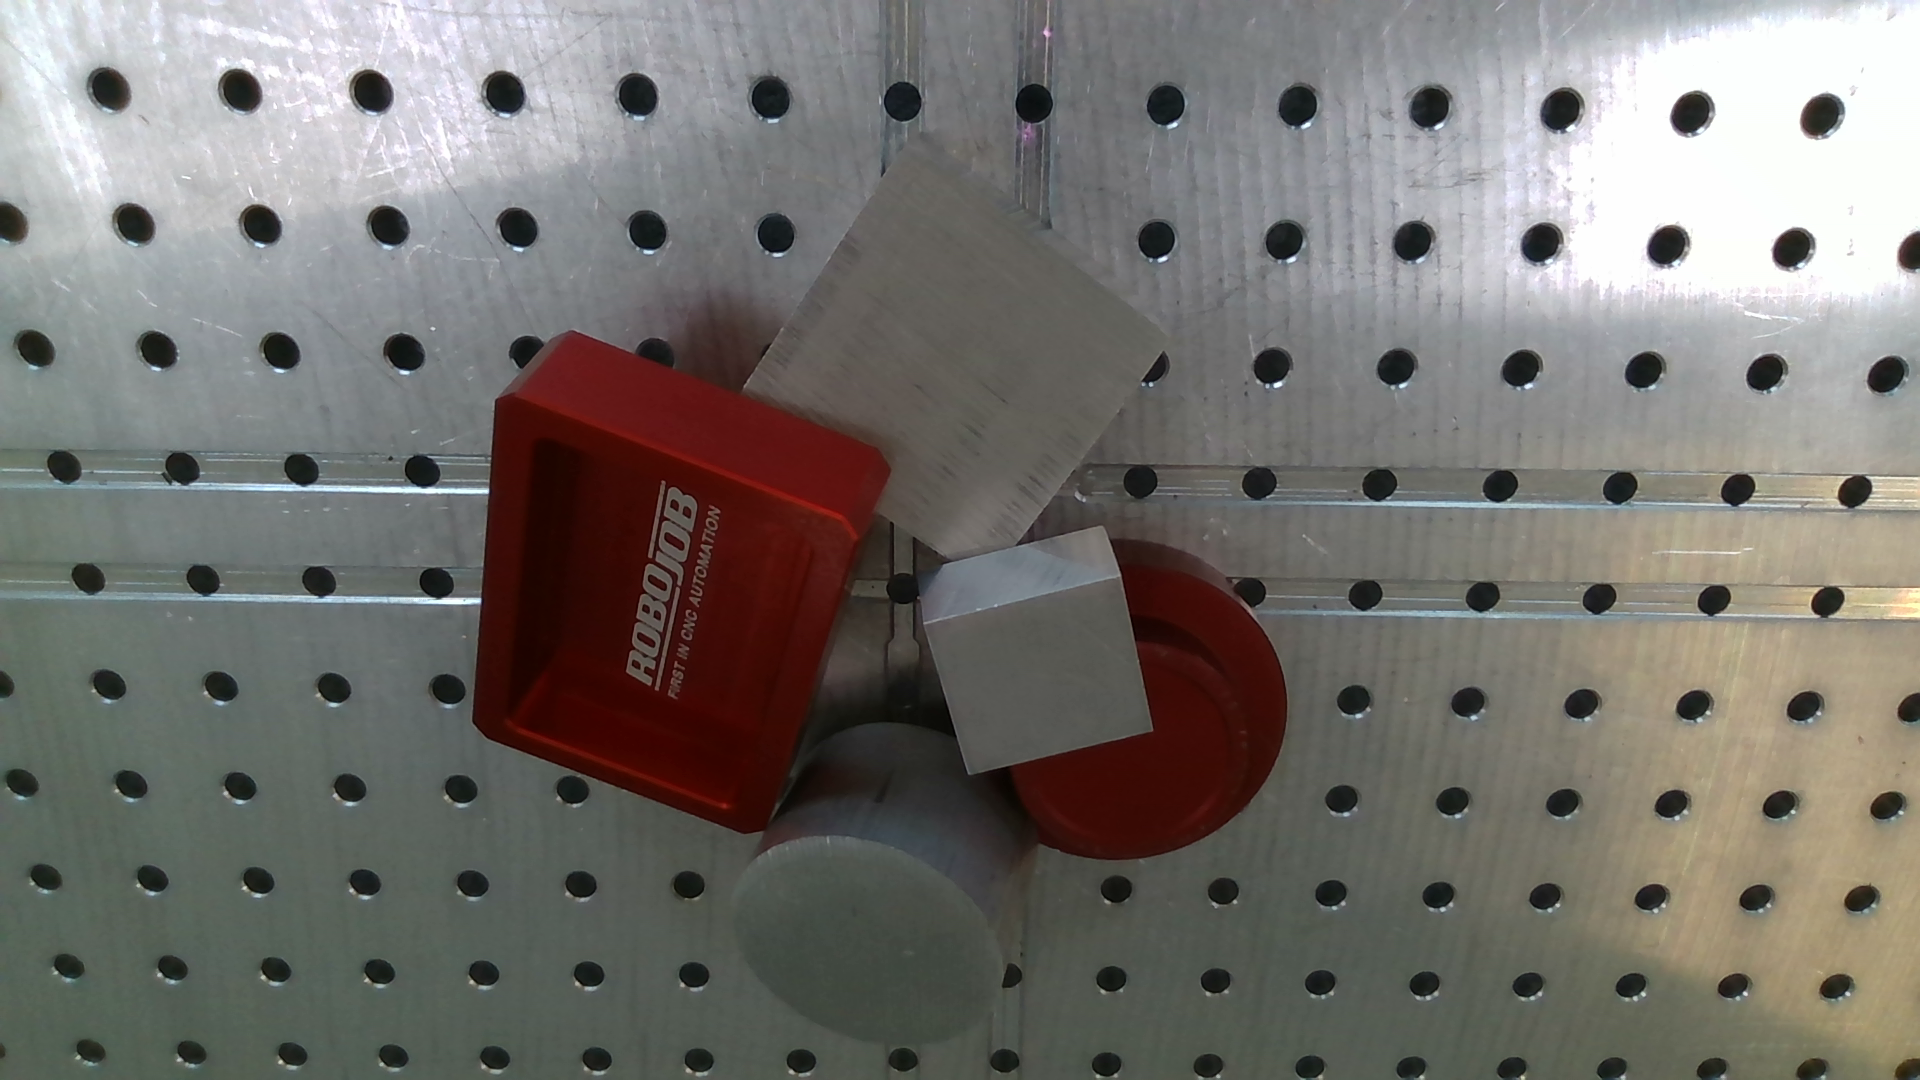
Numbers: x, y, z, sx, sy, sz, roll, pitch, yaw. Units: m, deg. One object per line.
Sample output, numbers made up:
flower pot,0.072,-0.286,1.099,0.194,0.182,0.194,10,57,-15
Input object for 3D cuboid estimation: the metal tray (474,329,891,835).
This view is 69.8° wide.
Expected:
metal tray,-0.079,0.017,0.369,0.090,0.030,0.130,21,131,0

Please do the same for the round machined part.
round machined part,0.047,0.053,0.406,0.098,0.042,0.098,0,110,0

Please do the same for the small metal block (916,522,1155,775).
small metal block,0.020,0.028,0.357,0.050,0.025,0.050,-14,120,2

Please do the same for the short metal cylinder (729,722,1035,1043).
short metal cylinder,-0.021,0.101,0.408,0.080,0.050,0.080,7,122,12

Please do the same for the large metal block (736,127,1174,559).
large metal block,-0.003,-0.050,0.364,0.080,0.050,0.080,34,107,-12
